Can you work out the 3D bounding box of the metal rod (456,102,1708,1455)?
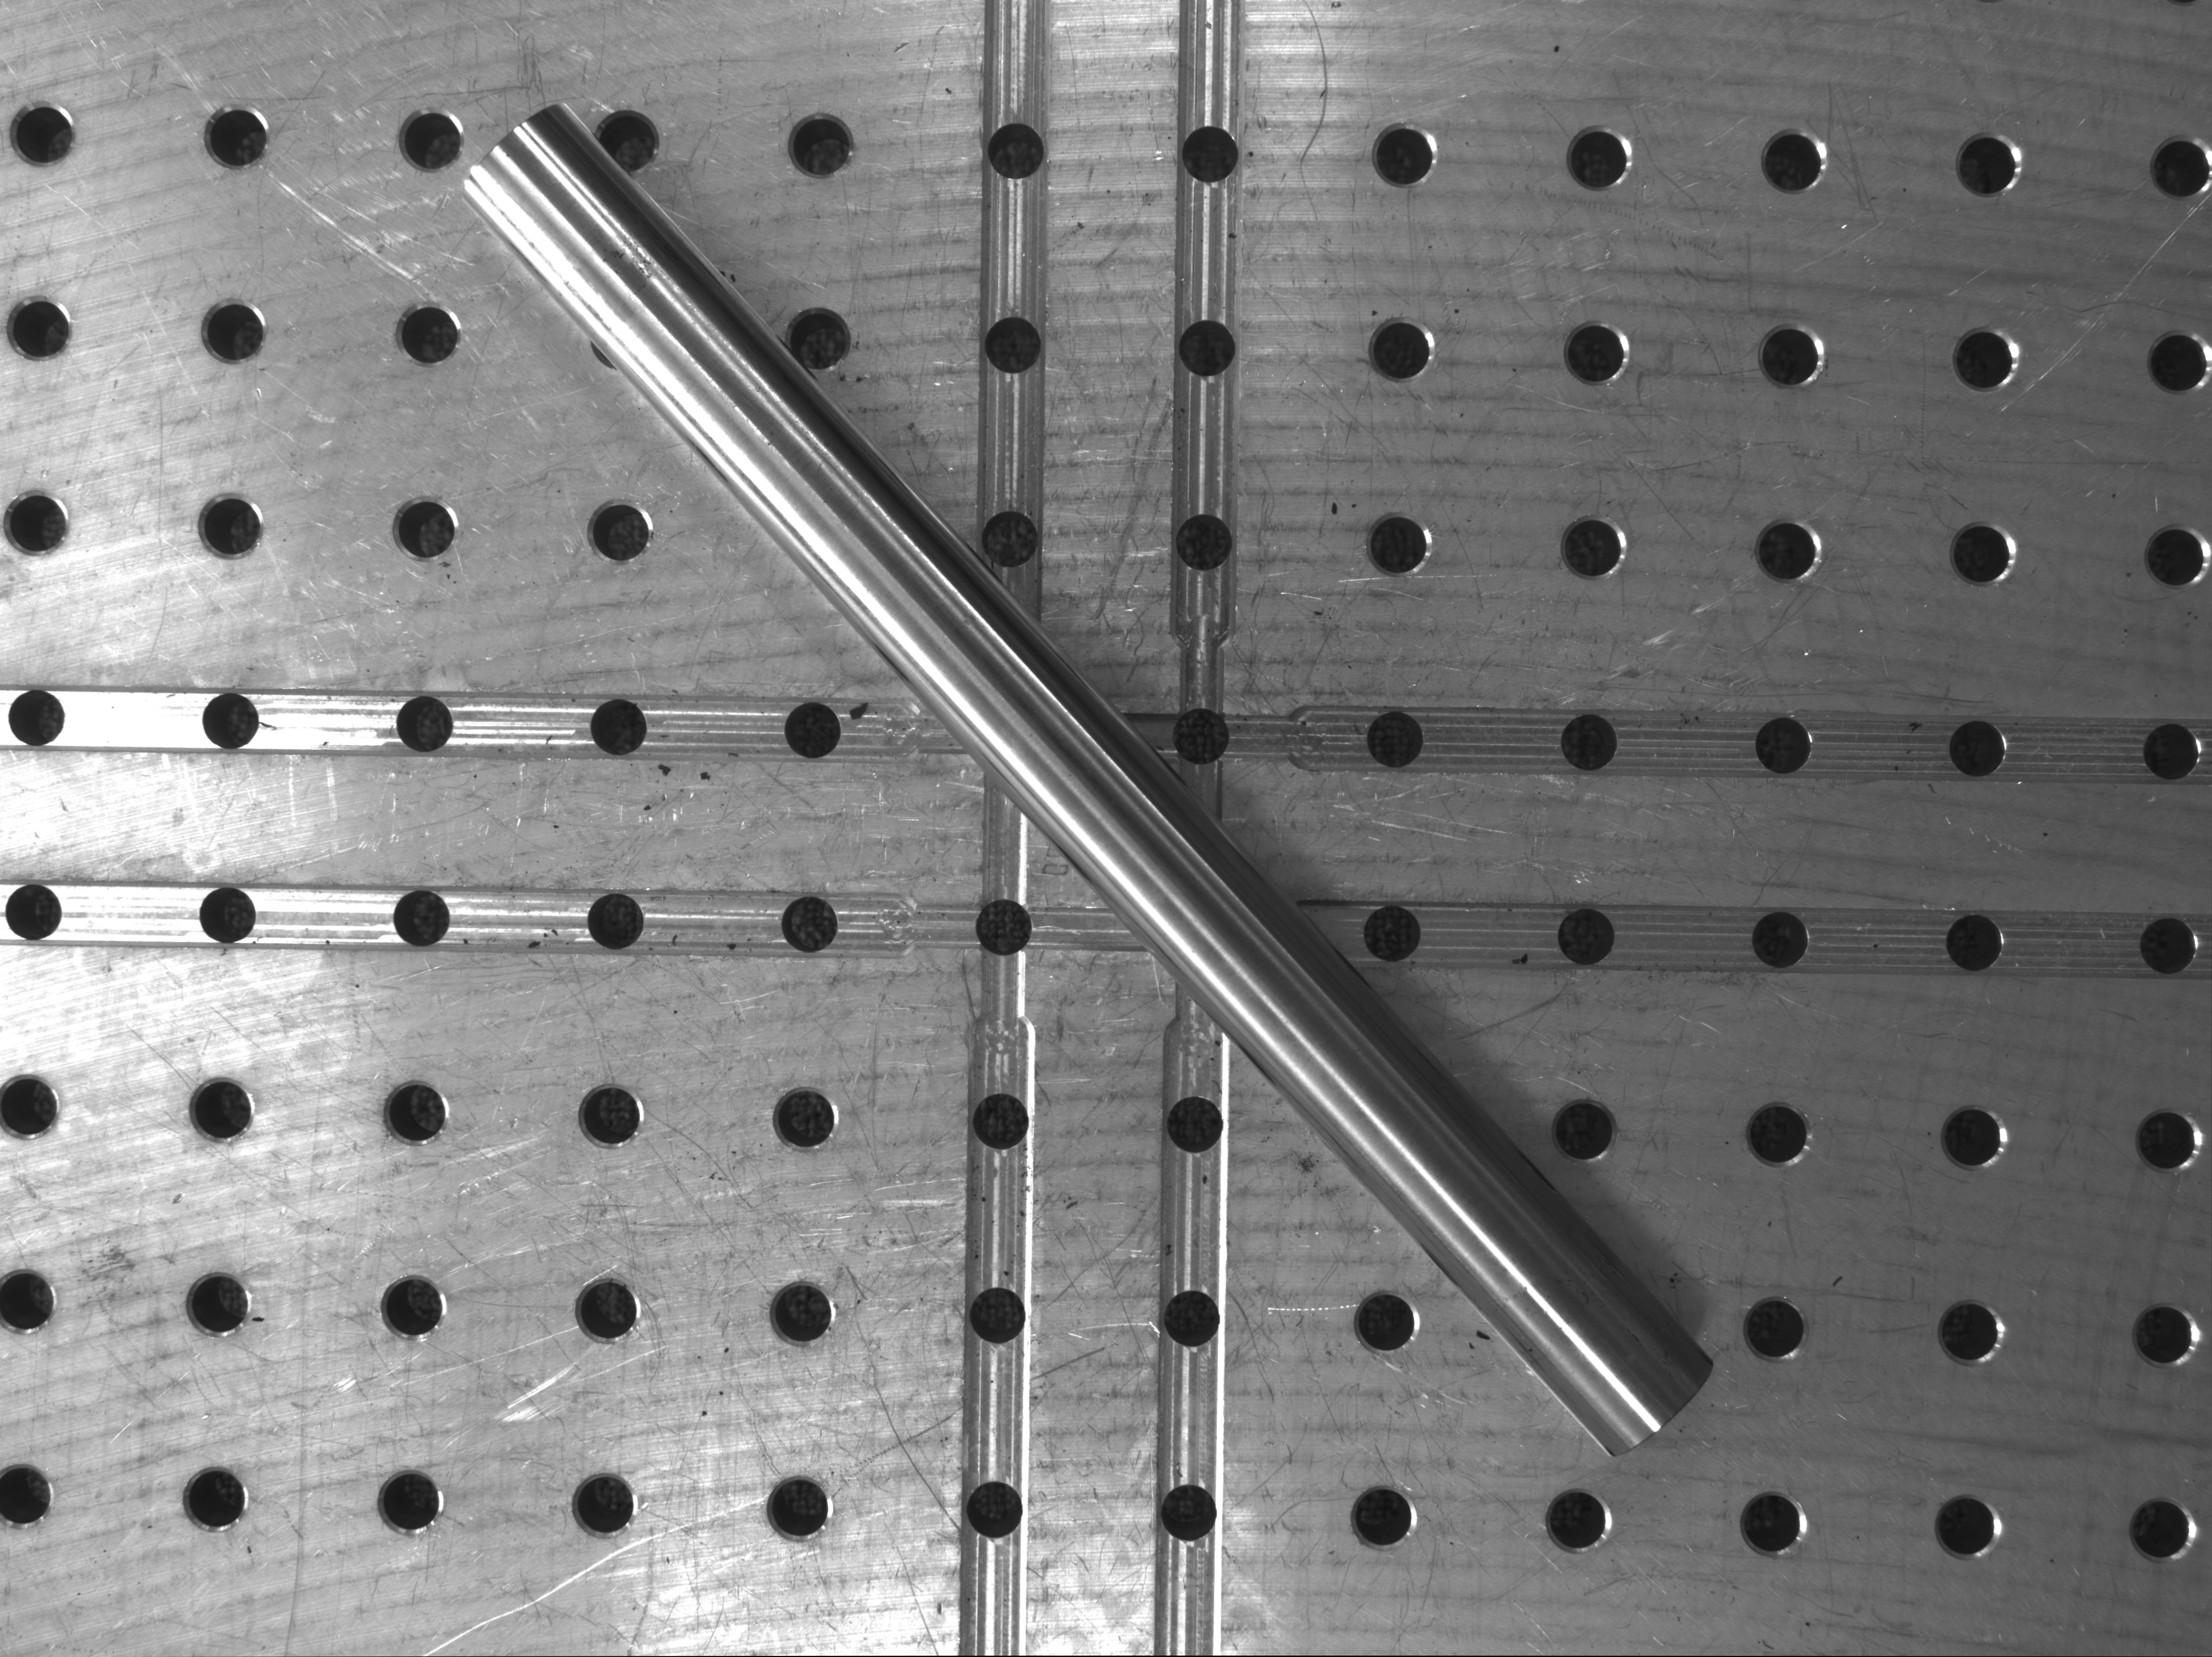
[{"bbox_3d":[-0.004,-0.009,0.649,0.025,0.025,0.300,-42,90,0],"label":"metal rod"}]
